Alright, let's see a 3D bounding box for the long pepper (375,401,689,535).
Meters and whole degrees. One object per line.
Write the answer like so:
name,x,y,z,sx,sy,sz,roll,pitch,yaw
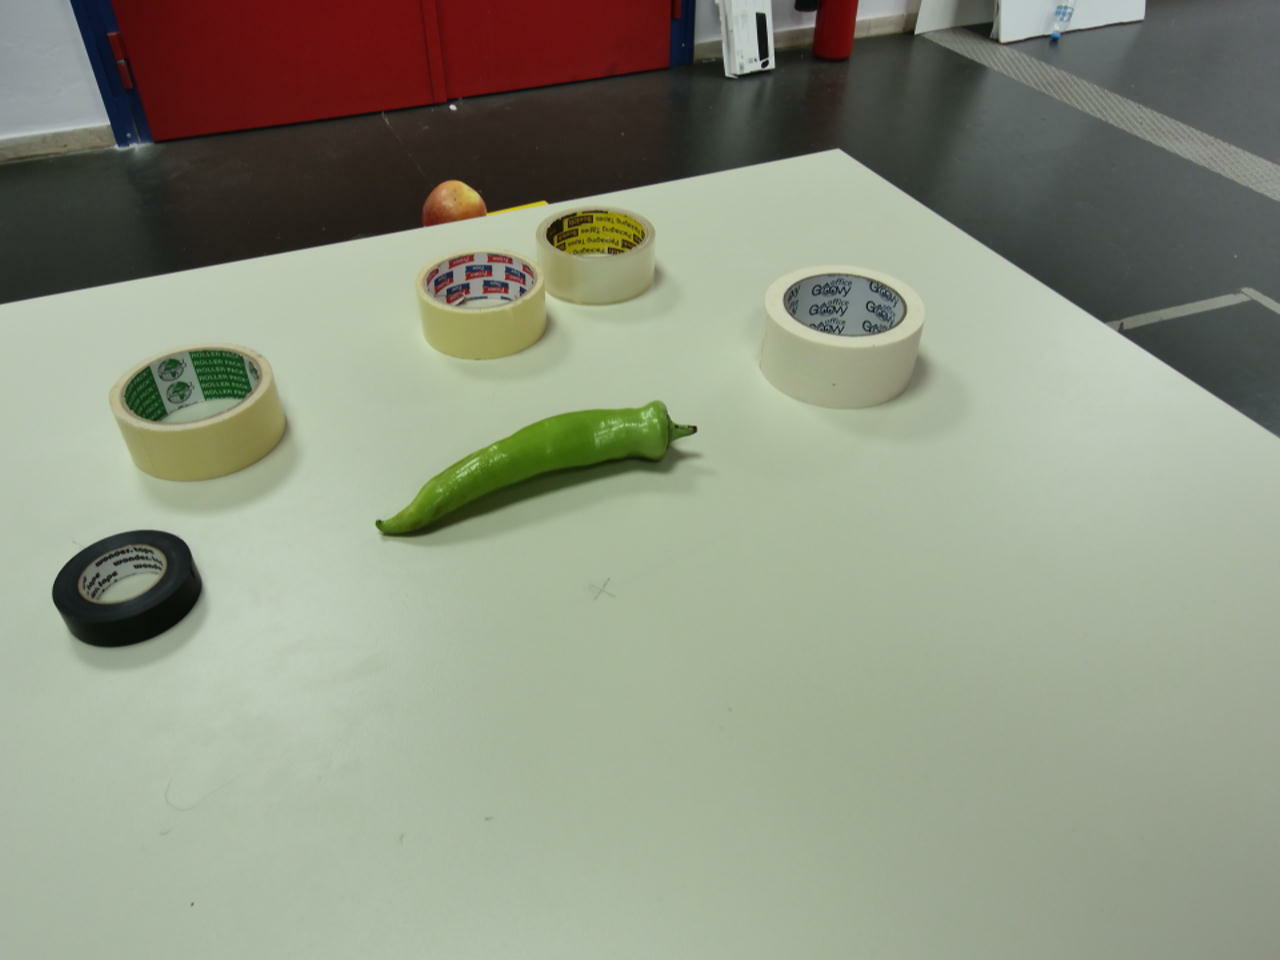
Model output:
long pepper,-0.062,-0.014,0.591,0.197,0.038,0.046,-14,41,-18
